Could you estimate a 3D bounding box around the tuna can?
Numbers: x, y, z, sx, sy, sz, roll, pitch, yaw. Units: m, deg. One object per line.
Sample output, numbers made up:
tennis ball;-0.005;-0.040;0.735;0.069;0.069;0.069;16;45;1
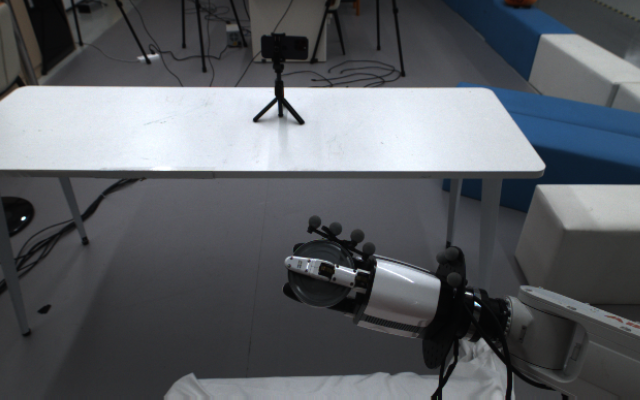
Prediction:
tuna can;0.004;0.094;0.624;0.085;0.034;0.085;0;72;0
